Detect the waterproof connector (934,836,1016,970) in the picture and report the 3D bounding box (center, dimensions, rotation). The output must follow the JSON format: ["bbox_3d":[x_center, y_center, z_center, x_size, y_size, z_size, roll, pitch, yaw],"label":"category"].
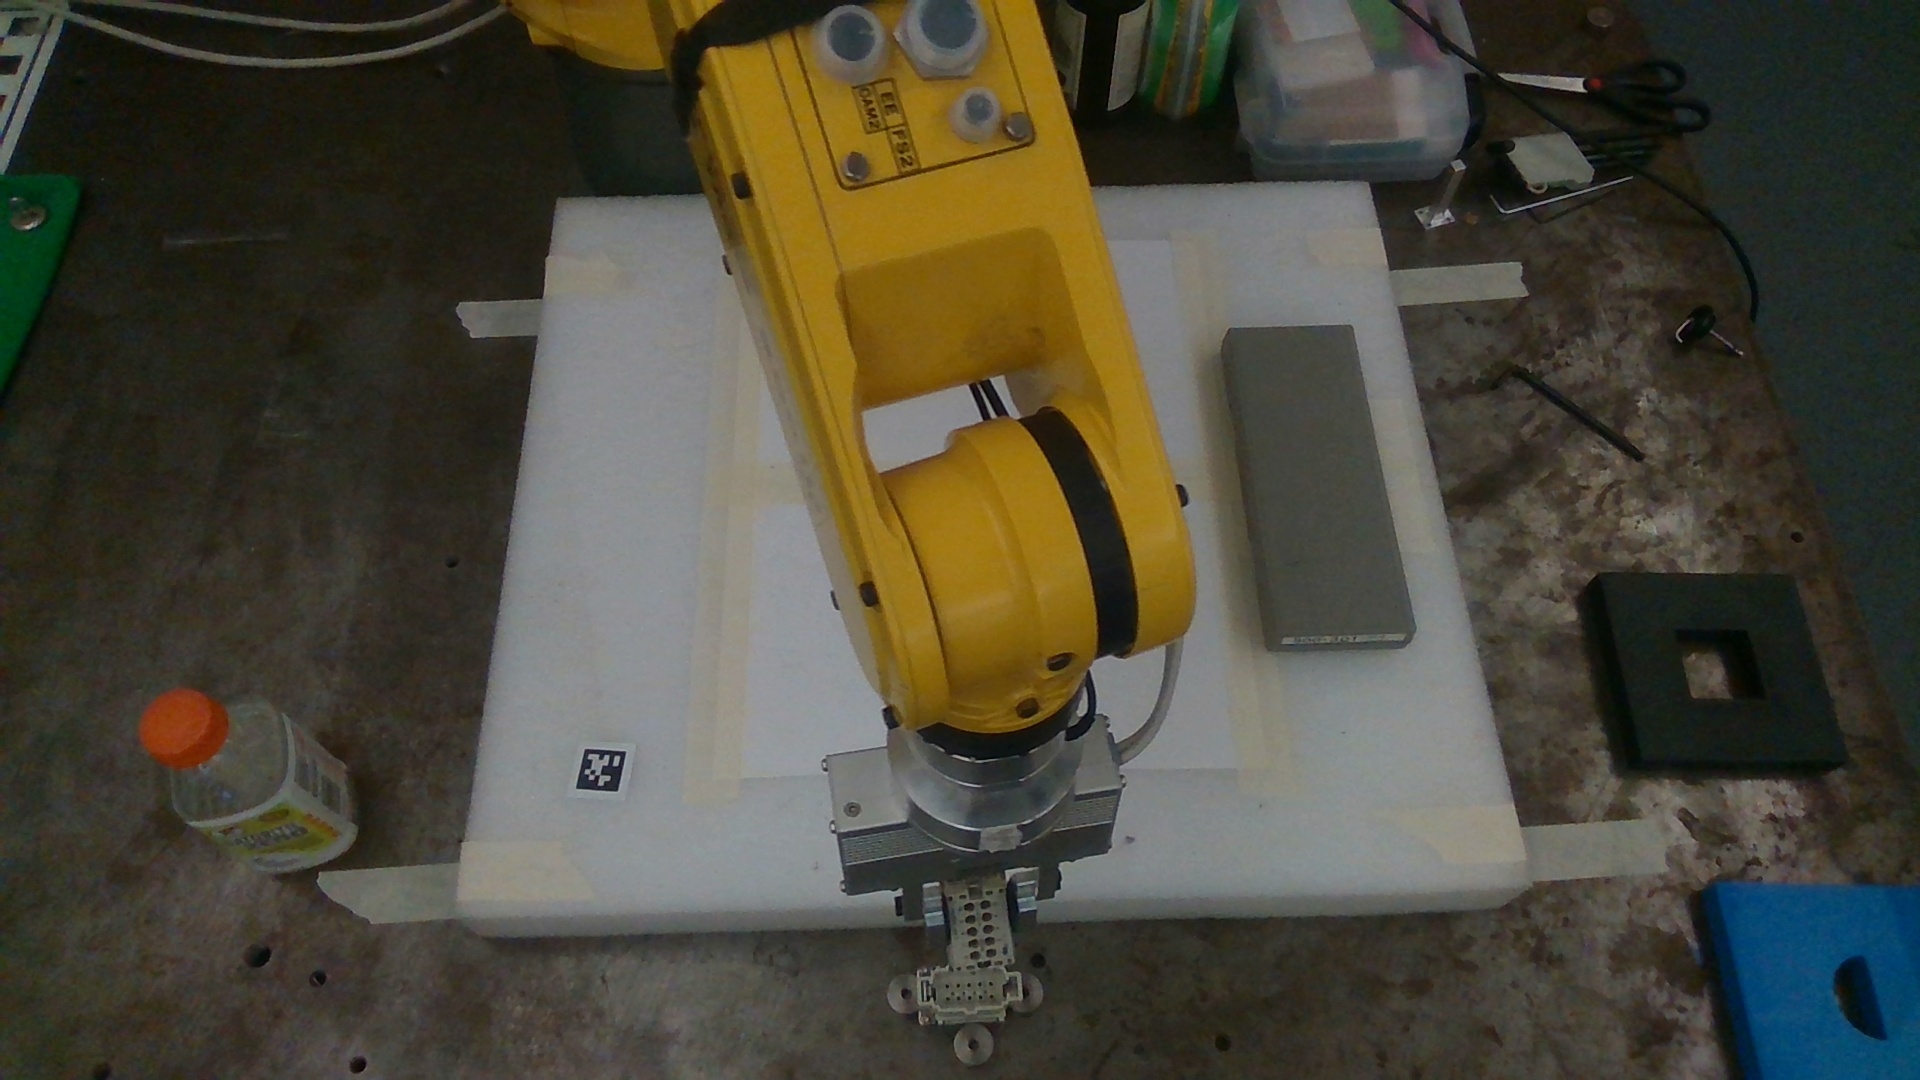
[{"bbox_3d":[0.007,0.192,0.730,0.037,0.038,0.069,-8,103,-6],"label":"waterproof connector"}]
